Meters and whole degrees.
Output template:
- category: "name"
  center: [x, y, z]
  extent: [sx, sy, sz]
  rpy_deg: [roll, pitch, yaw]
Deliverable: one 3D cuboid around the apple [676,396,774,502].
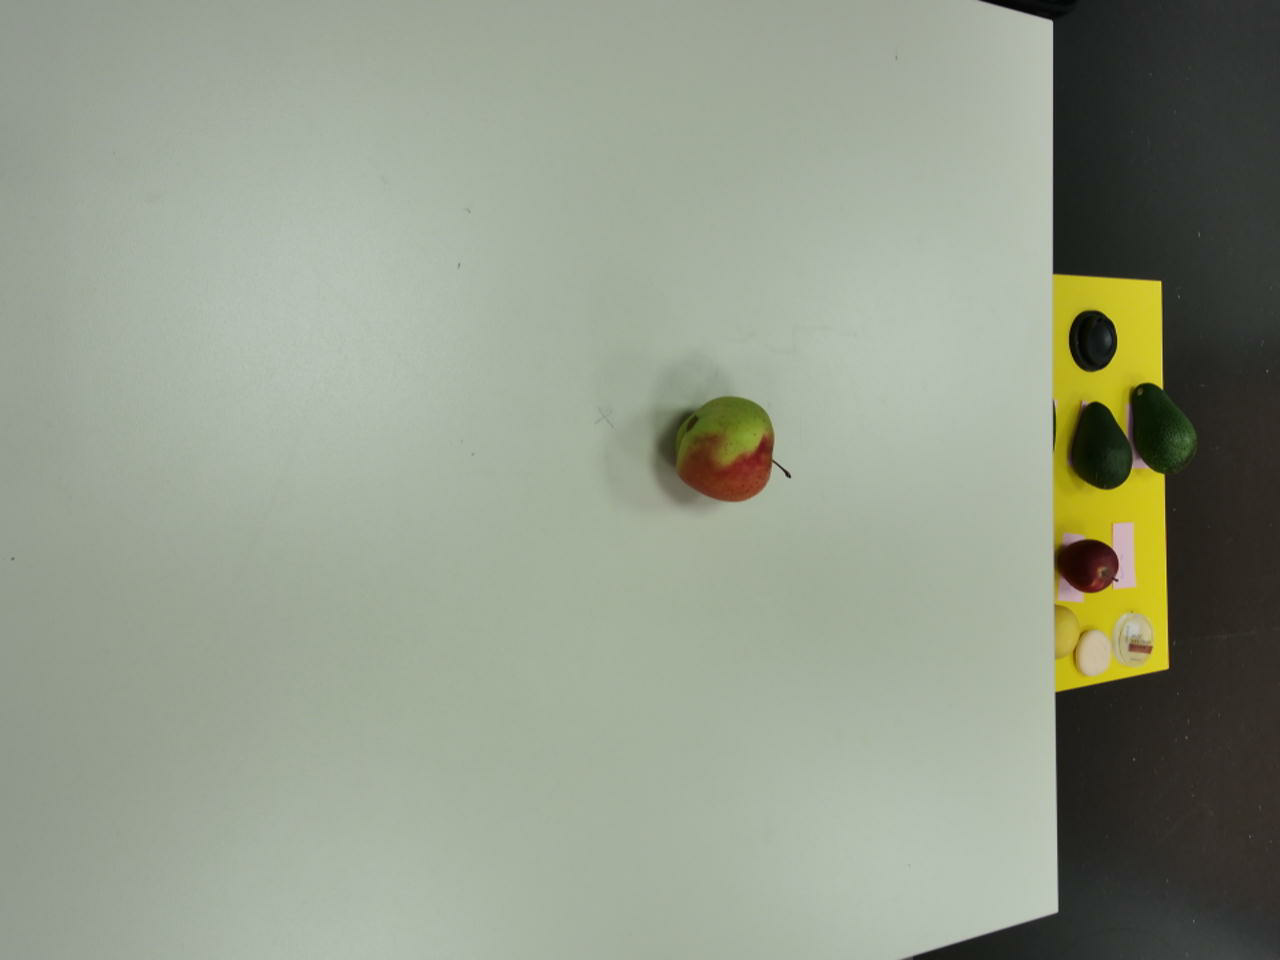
- category: "apple"
  center: [0.062, -0.021, 0.716]
  extent: [0.075, 0.074, 0.075]
  rpy_deg: [-22, 101, -27]
